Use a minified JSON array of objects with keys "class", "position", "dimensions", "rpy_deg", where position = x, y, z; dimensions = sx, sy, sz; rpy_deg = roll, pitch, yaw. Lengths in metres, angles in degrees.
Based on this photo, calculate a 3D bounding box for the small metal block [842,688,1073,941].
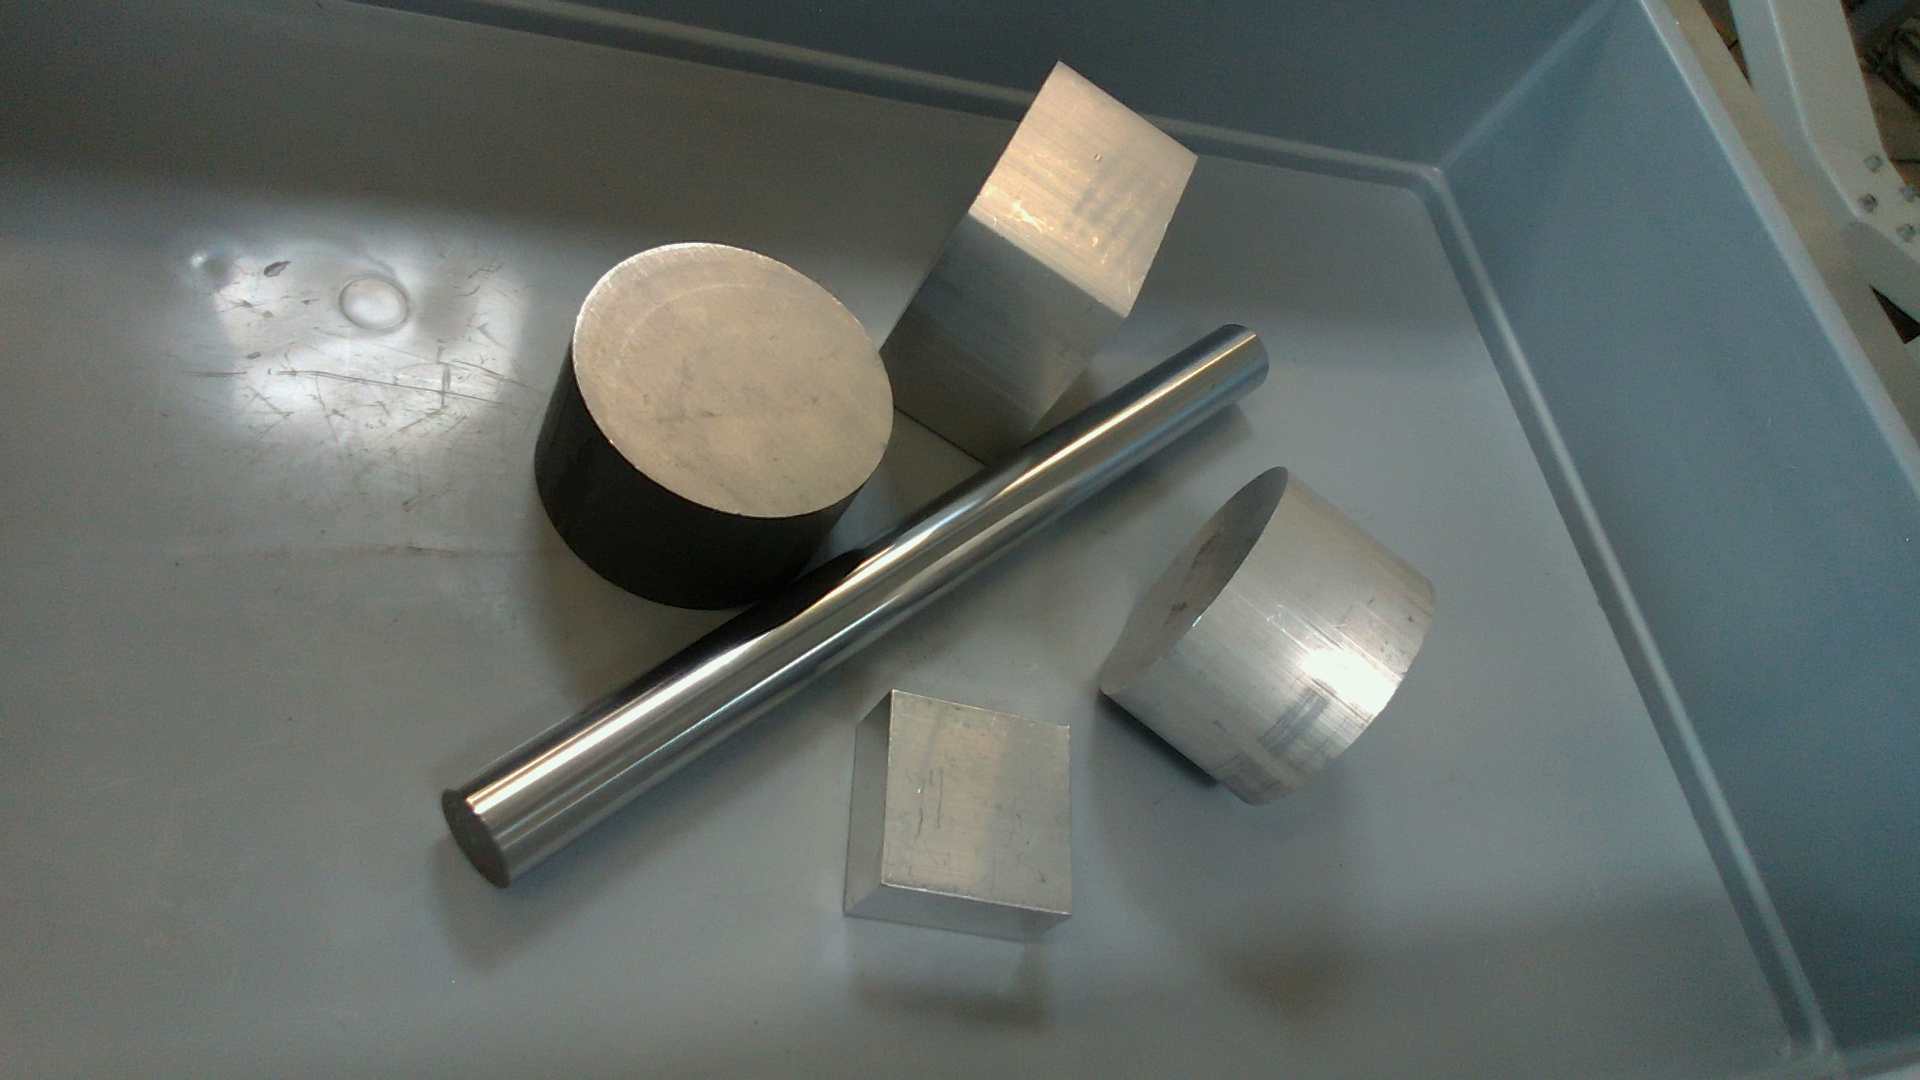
[{"class":"small metal block","position":[0.000,0.069,0.346],"dimensions":[0.050,0.025,0.050],"rpy_deg":[14,56,-20]}]

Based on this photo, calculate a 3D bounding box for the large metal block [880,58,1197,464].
[{"class":"large metal block","position":[0.020,-0.081,0.413],"dimensions":[0.050,0.080,0.080],"rpy_deg":[32,51,-8]}]

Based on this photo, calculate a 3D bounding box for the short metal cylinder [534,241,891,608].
[{"class":"short metal cylinder","position":[-0.064,-0.029,0.355],"dimensions":[0.080,0.050,0.080],"rpy_deg":[14,56,-21]}]

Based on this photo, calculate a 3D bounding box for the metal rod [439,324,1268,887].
[{"class":"metal rod","position":[-0.004,0.000,0.386],"dimensions":[0.301,0.025,0.025],"rpy_deg":[-32,80,-38]}]

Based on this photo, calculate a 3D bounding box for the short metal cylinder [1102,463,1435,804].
[{"class":"short metal cylinder","position":[0.084,0.026,0.383],"dimensions":[0.050,0.080,0.080],"rpy_deg":[37,51,-3]}]
